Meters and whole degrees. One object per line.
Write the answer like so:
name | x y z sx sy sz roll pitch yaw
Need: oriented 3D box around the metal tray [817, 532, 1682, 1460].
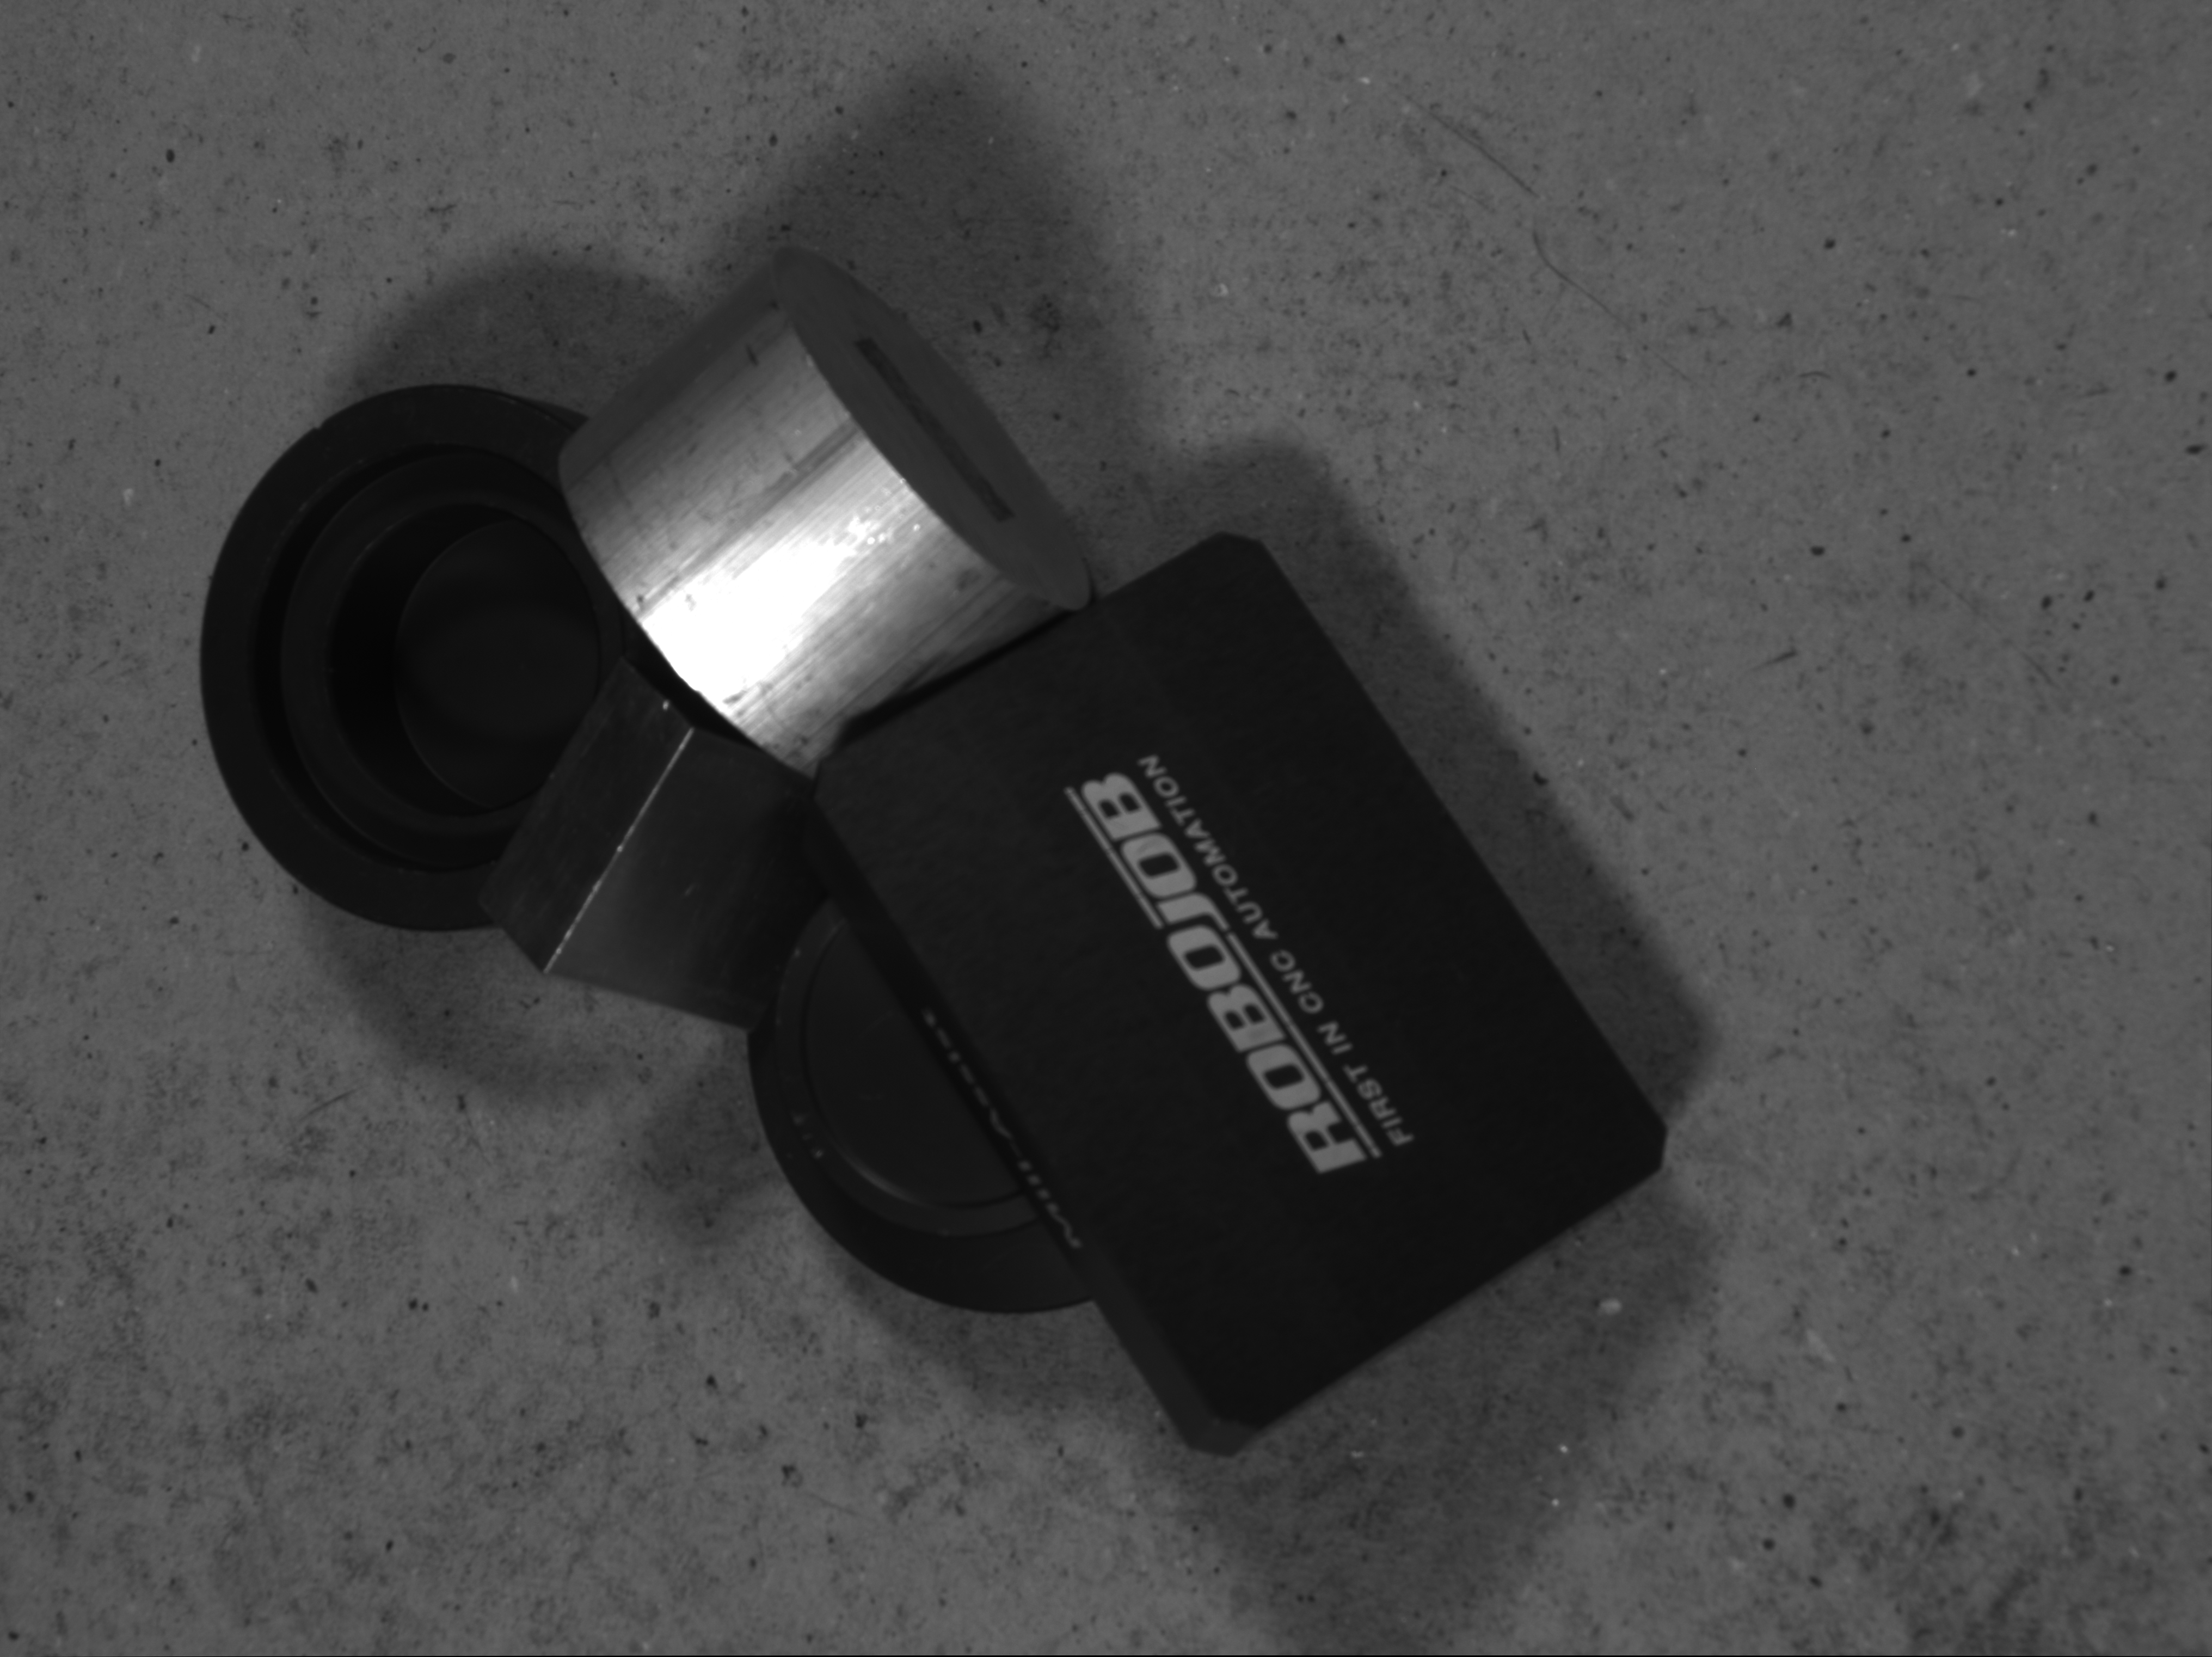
metal tray | 0.022 0.027 0.610 0.090 0.030 0.130 -30 78 -15

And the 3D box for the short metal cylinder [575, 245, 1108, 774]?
short metal cylinder | -0.045 -0.054 0.632 0.050 0.080 0.080 -39 78 15

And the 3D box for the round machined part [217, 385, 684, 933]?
round machined part | -0.111 -0.030 0.675 0.098 0.042 0.098 0 90 20

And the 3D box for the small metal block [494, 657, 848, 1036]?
small metal block | -0.070 0.004 0.637 0.025 0.050 0.050 41 104 40

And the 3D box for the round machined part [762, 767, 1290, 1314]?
round machined part | -0.016 0.036 0.641 0.098 0.042 0.098 0 90 20
